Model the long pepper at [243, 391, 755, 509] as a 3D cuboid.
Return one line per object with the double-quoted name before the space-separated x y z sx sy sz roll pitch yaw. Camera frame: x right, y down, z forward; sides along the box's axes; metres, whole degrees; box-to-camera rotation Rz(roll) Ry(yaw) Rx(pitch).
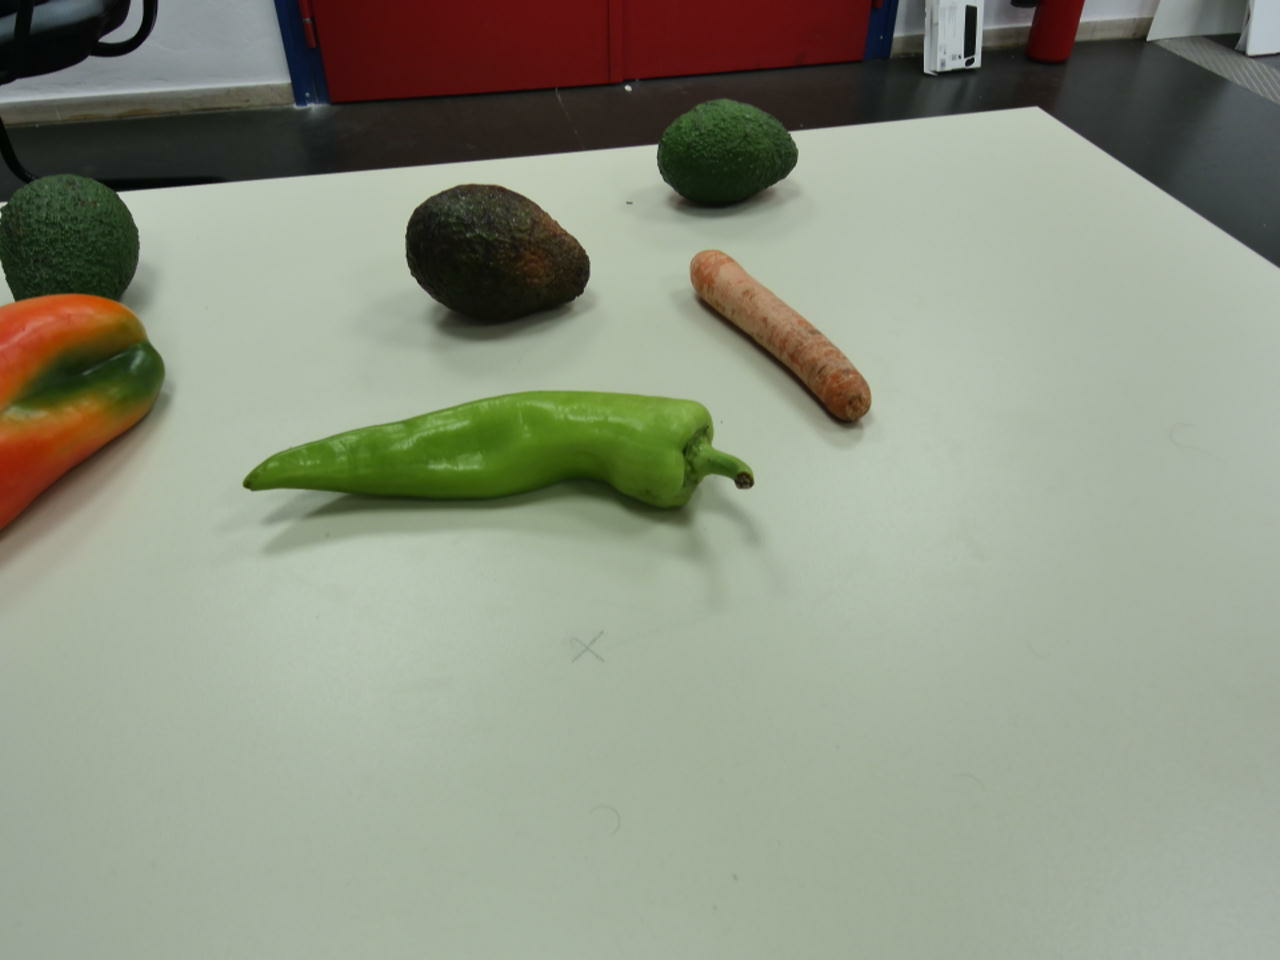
"long pepper" -0.055 -0.013 0.421 0.205 0.045 0.065 2 38 2
